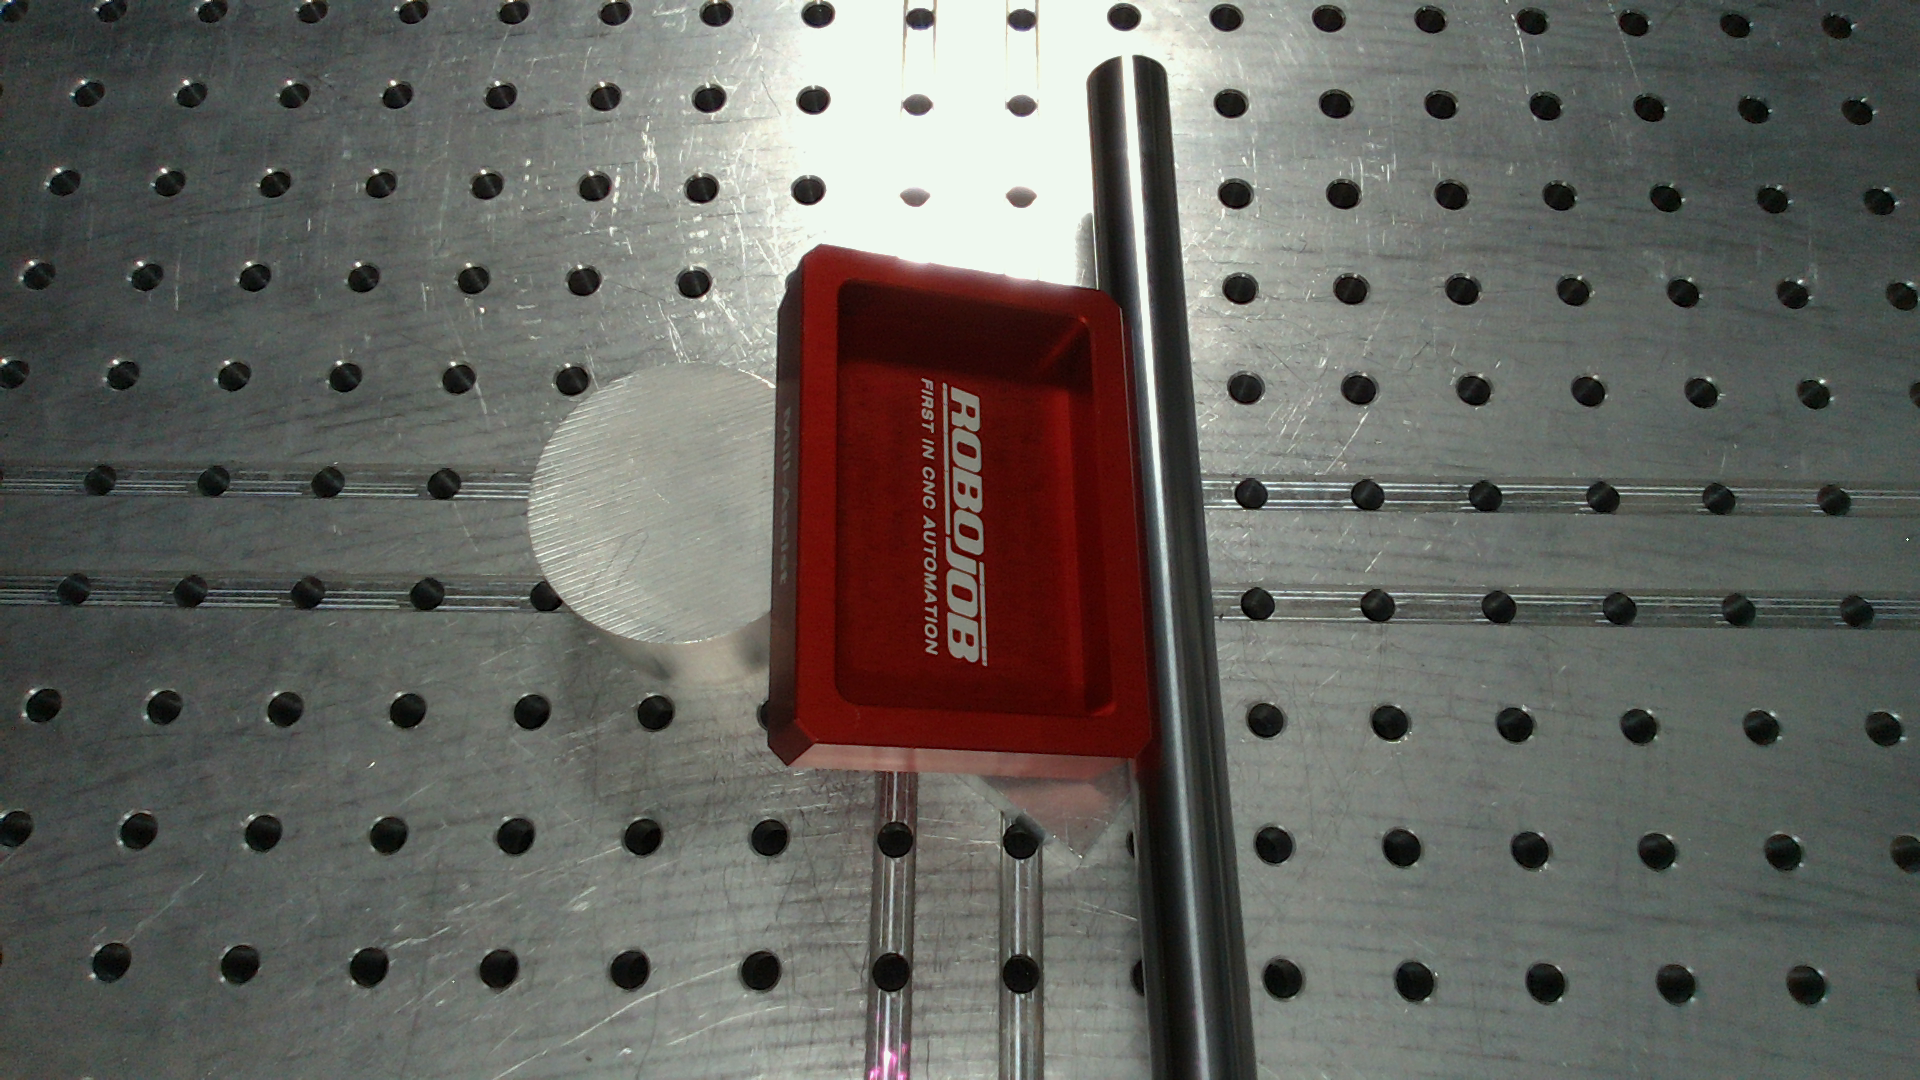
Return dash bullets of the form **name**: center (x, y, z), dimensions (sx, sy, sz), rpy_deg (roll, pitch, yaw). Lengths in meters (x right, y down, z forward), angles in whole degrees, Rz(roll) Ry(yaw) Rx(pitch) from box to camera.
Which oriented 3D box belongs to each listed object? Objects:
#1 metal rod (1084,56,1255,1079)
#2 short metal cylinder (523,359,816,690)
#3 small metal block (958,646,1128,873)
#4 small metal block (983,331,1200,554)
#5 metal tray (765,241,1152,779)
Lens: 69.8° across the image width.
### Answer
- **metal rod**: center (0.054, 0.001, 0.370), dimensions (0.025, 0.025, 0.300), rpy_deg (-1, 70, 0)
- **short metal cylinder**: center (-0.074, -0.003, 0.384), dimensions (0.080, 0.050, 0.080), rpy_deg (0, 70, 0)
- **small metal block**: center (0.027, 0.054, 0.376), dimensions (0.050, 0.025, 0.050), rpy_deg (37, 74, 12)
- **small metal block**: center (0.038, -0.029, 0.408), dimensions (0.050, 0.025, 0.050), rpy_deg (-14, 71, -5)
- **metal tray**: center (-0.002, -0.007, 0.355), dimensions (0.090, 0.030, 0.130), rpy_deg (5, 69, -19)
